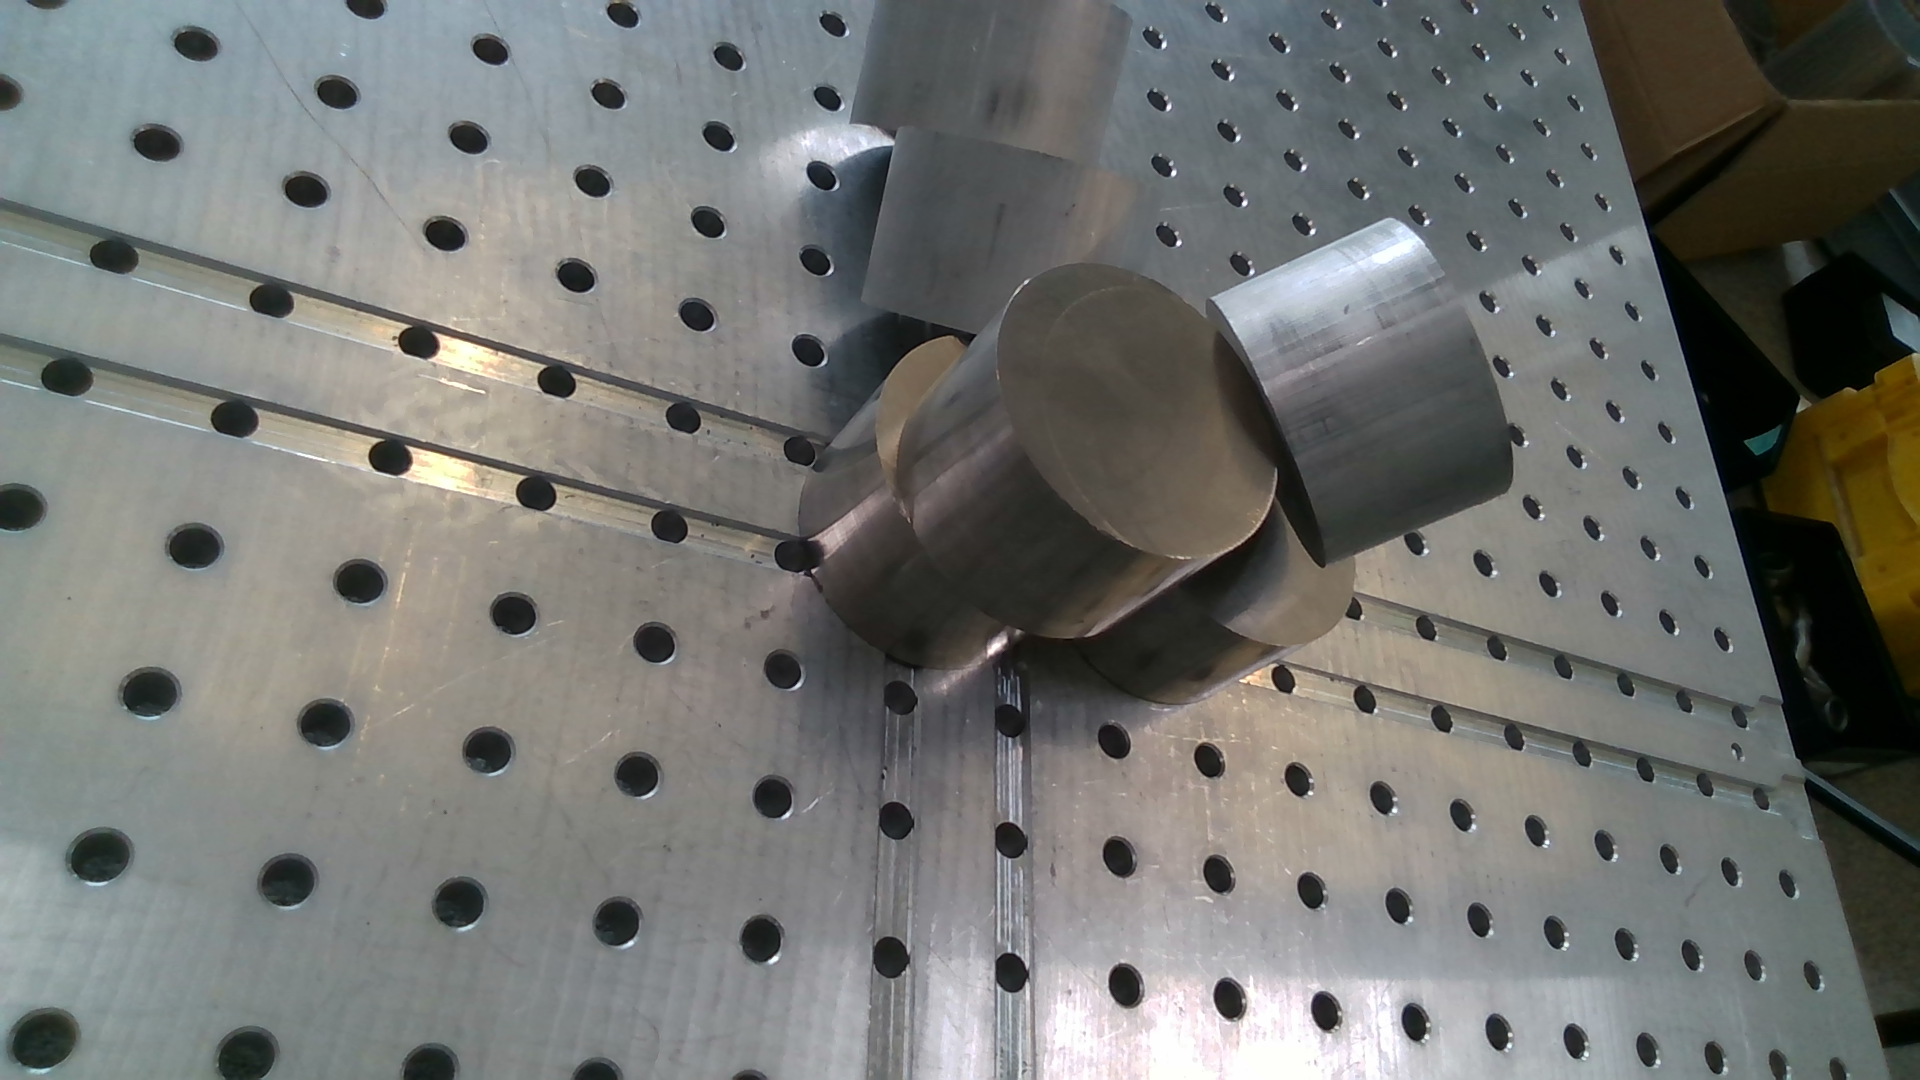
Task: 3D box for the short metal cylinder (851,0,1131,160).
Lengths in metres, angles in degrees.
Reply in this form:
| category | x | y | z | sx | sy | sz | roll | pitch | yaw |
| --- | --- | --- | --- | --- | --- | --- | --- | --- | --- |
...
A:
| category | x | y | z | sx | sy | sz | roll | pitch | yaw |
| --- | --- | --- | --- | --- | --- | --- | --- | --- | --- |
| short metal cylinder | 0.009 | -0.148 | 0.437 | 0.080 | 0.080 | 0.050 | 7 | 104 | -29 |

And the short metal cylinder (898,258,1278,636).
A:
| category | x | y | z | sx | sy | sz | roll | pitch | yaw |
| --- | --- | --- | --- | --- | --- | --- | --- | --- | --- |
| short metal cylinder | 0.032 | -0.022 | 0.344 | 0.080 | 0.050 | 0.080 | 15 | 58 | -25 |

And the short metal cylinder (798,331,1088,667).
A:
| category | x | y | z | sx | sy | sz | roll | pitch | yaw |
| --- | --- | --- | --- | --- | --- | --- | --- | --- | --- |
| short metal cylinder | 0.001 | -0.011 | 0.386 | 0.080 | 0.050 | 0.080 | 14 | 59 | -25 |

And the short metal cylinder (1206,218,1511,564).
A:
| category | x | y | z | sx | sy | sz | roll | pitch | yaw |
| --- | --- | --- | --- | --- | --- | --- | --- | --- | --- |
| short metal cylinder | 0.106 | -0.040 | 0.373 | 0.050 | 0.080 | 0.080 | -24 | 75 | 6 |

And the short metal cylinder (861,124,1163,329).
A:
| category | x | y | z | sx | sy | sz | roll | pitch | yaw |
| --- | --- | --- | --- | --- | --- | --- | --- | --- | --- |
| short metal cylinder | 0.015 | -0.087 | 0.407 | 0.080 | 0.080 | 0.050 | 8 | 103 | -28 |

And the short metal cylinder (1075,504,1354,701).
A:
| category | x | y | z | sx | sy | sz | roll | pitch | yaw |
| --- | --- | --- | --- | --- | --- | --- | --- | --- | --- |
| short metal cylinder | 0.073 | 0.003 | 0.422 | 0.080 | 0.050 | 0.080 | 14 | 58 | -25 |
